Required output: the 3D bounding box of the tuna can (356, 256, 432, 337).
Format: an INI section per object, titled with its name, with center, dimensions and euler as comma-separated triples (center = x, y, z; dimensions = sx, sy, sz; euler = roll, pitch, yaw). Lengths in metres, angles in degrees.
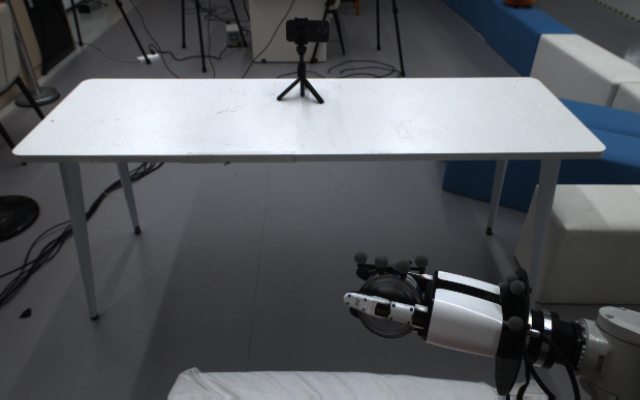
[tuna can]
center = 0.095, 0.135, 0.638
dimensions = 0.085, 0.085, 0.034
euler = 13, 7, 15
